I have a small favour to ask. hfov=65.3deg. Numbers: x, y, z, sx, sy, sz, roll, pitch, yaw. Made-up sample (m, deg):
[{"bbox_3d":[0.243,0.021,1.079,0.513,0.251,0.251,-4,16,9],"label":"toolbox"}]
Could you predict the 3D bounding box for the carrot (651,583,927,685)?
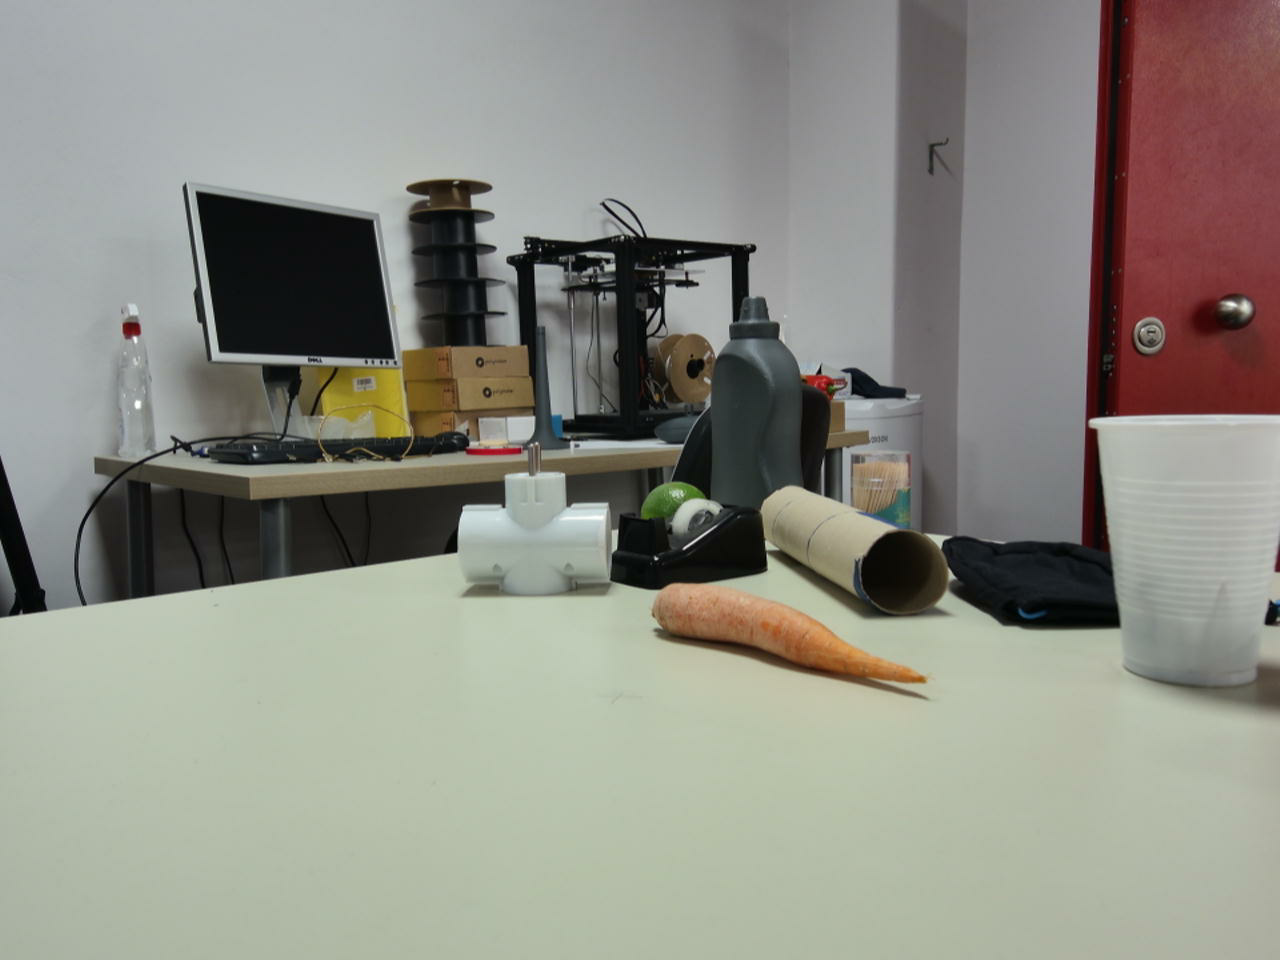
[{"bbox_3d":[0.063,0.069,0.463,0.031,0.029,0.163,-2,5,-41],"label":"carrot"}]
